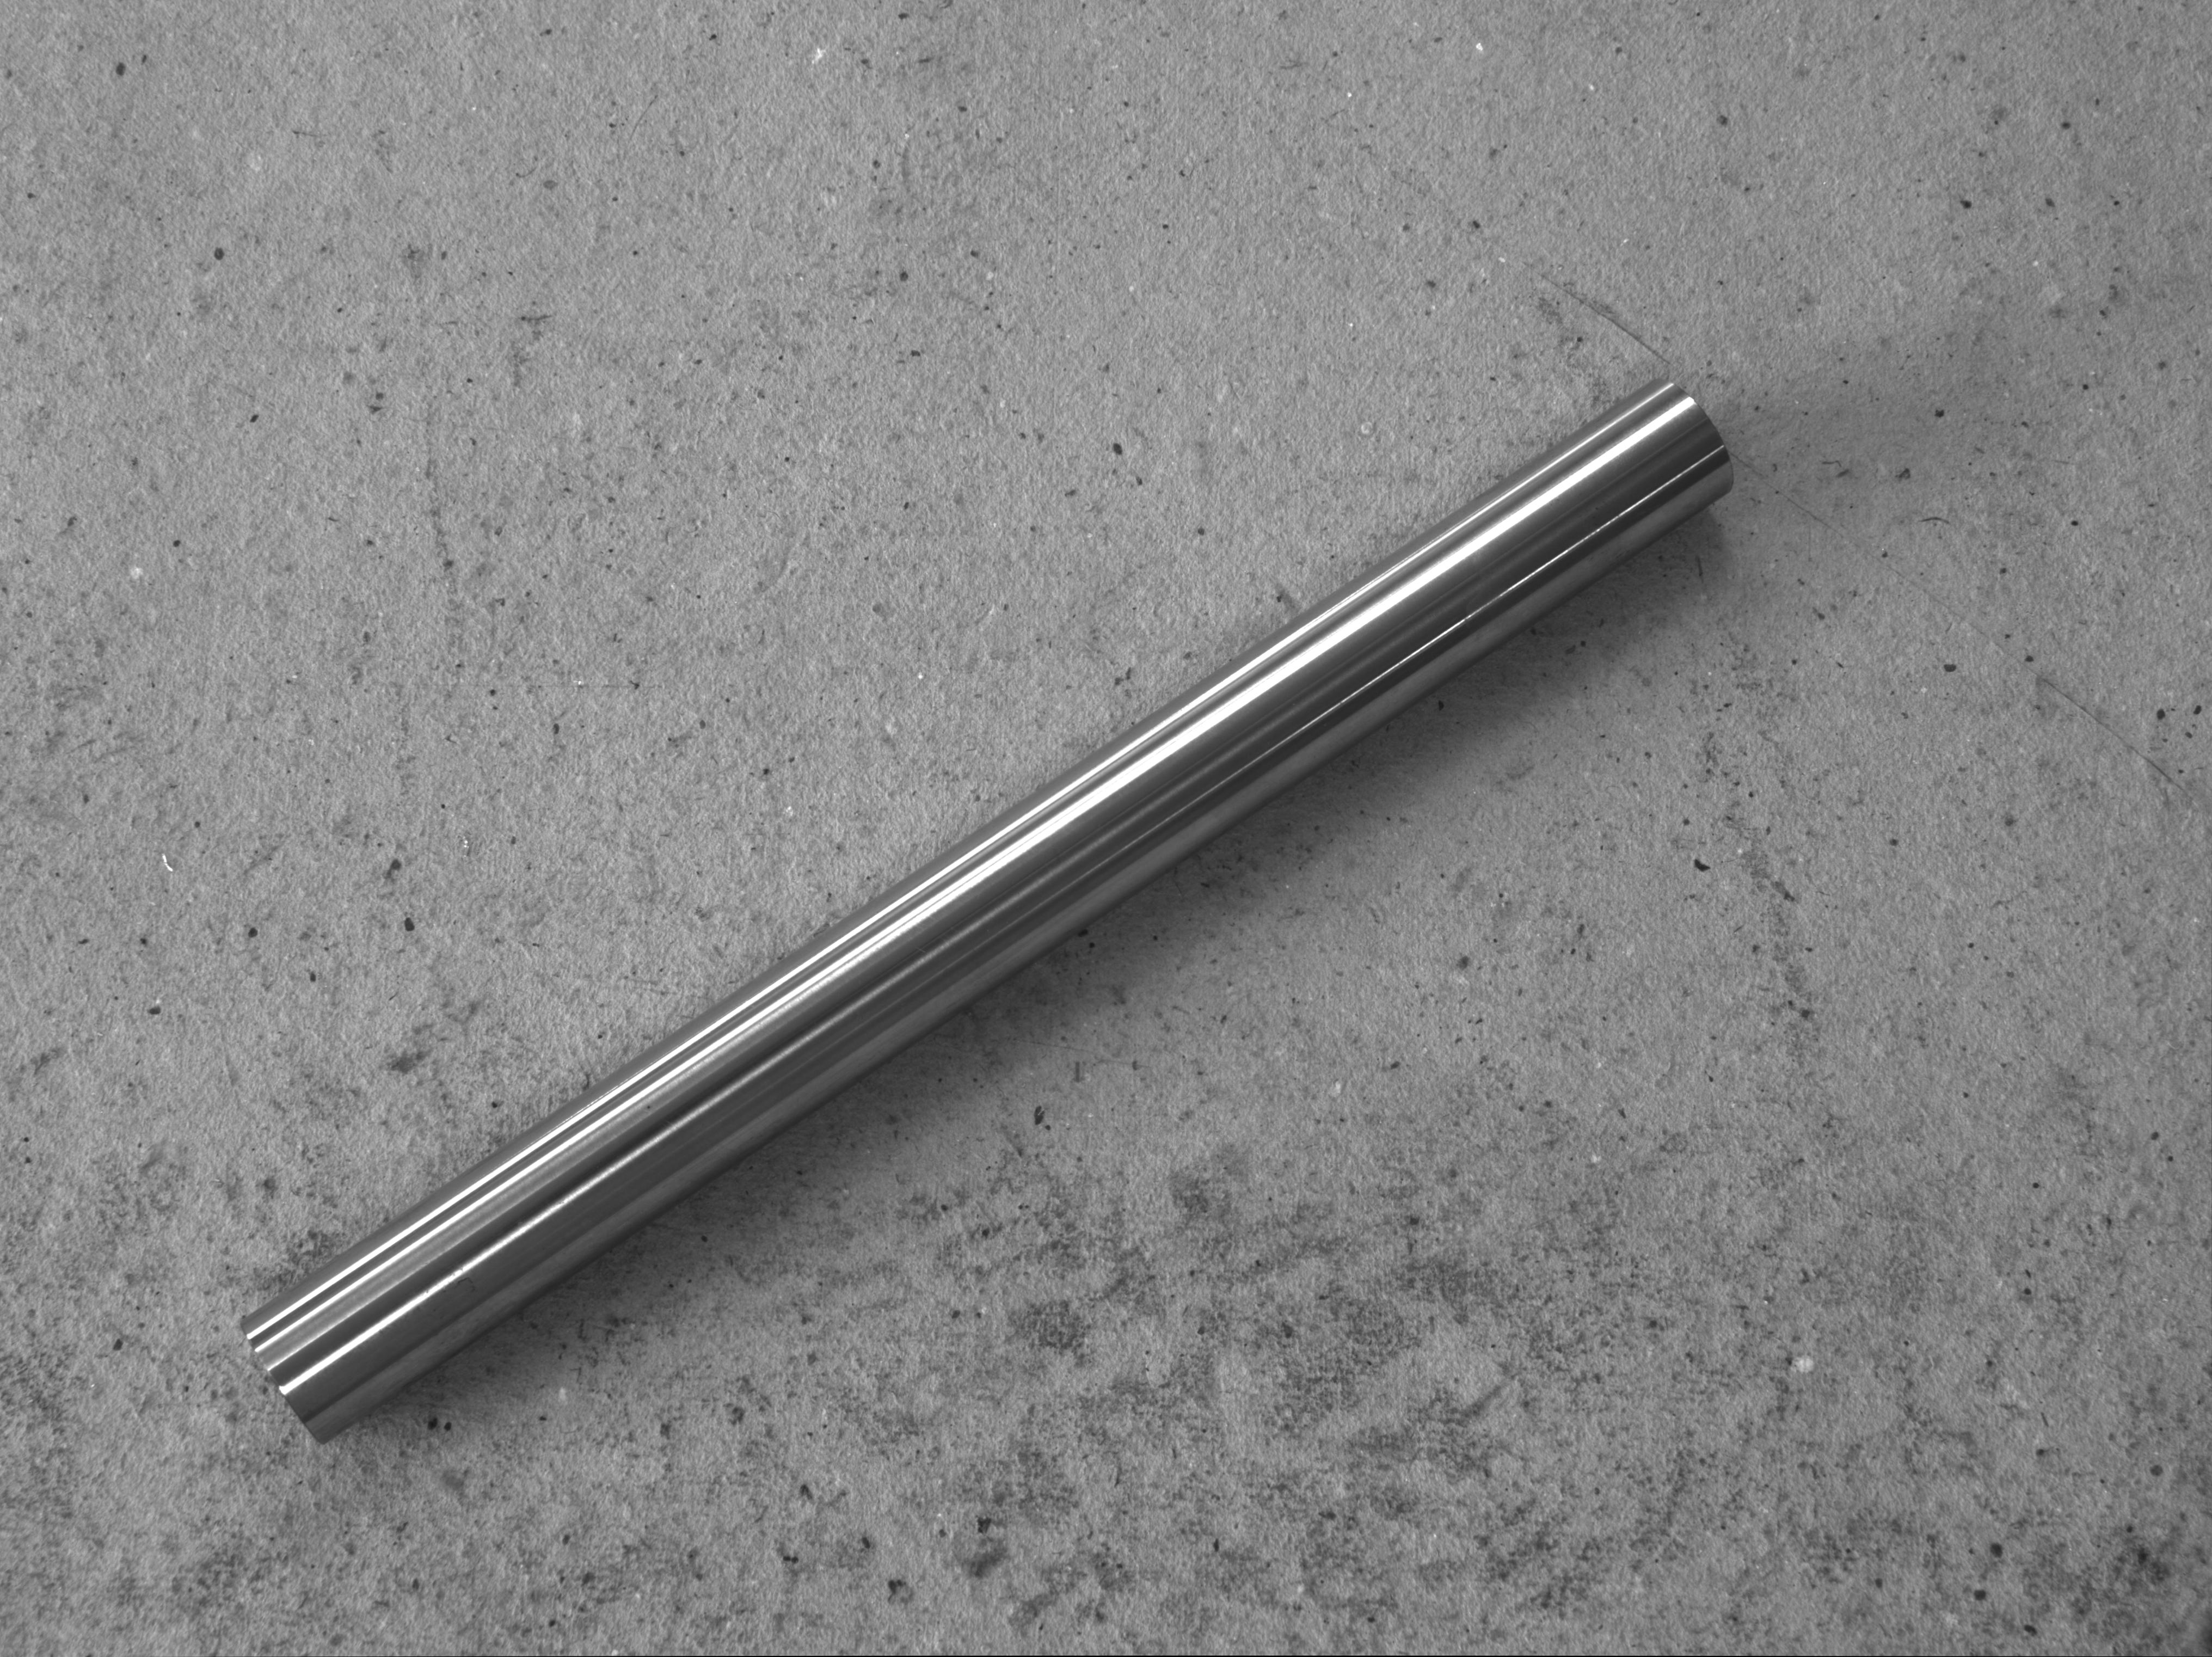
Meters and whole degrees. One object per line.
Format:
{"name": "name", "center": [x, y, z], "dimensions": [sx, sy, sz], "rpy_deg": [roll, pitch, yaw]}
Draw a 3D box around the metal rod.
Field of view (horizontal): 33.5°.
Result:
{"name": "metal rod", "center": [-0.016, 0.011, 0.642], "dimensions": [0.300, 0.025, 0.025], "rpy_deg": [-34, 73, -12]}
